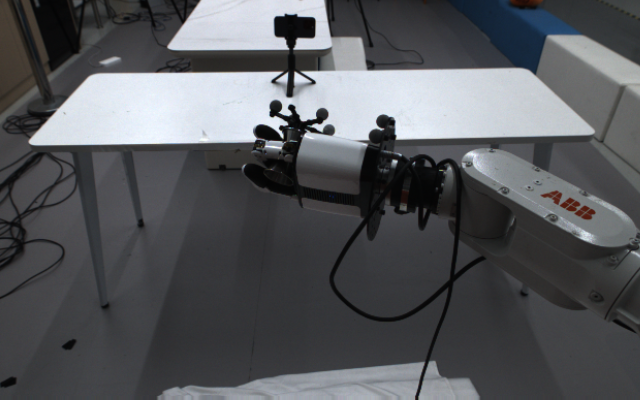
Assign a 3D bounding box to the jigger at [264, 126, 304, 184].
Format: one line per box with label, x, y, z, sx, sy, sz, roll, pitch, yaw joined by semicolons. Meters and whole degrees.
jigger;-0.041;-0.059;0.653;0.043;0.043;0.071;13;70;16
